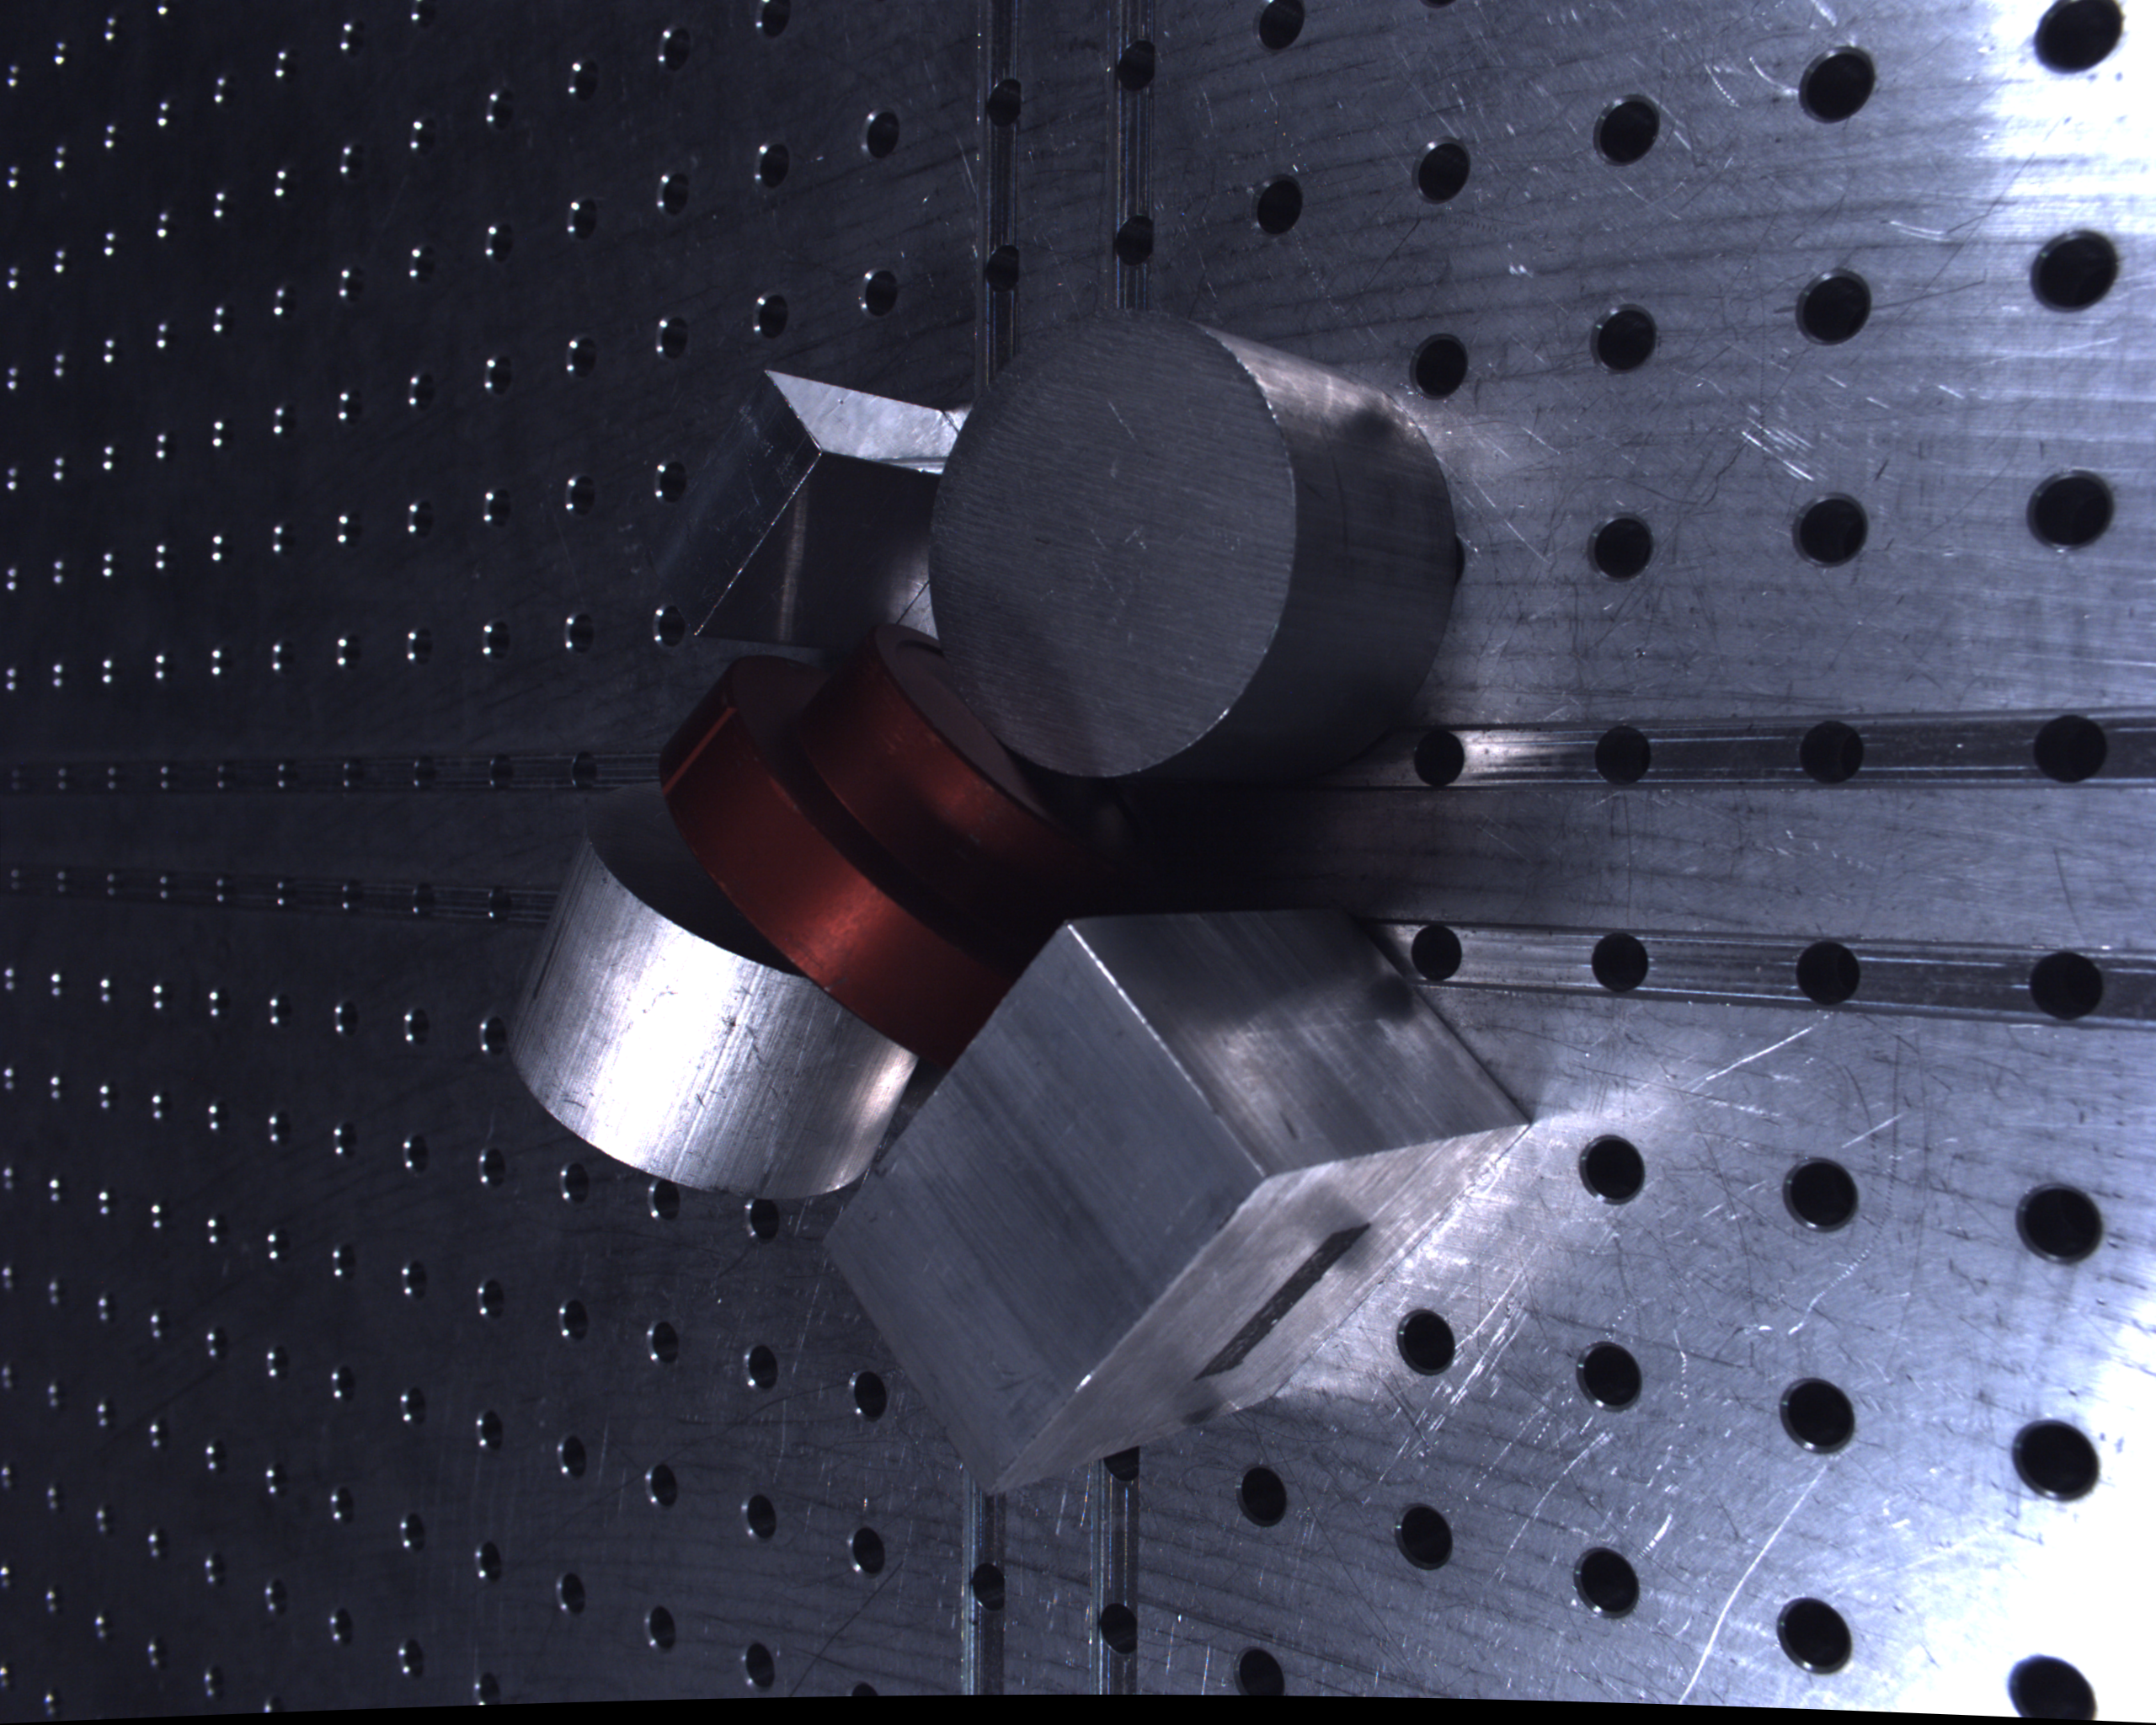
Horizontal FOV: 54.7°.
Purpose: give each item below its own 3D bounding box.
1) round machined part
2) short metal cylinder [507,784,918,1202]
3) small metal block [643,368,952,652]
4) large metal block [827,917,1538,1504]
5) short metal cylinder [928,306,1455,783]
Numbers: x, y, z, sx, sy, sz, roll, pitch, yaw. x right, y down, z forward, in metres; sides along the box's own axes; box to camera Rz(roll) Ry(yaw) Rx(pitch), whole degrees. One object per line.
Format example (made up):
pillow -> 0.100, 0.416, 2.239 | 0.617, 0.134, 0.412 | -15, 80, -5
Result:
round machined part -> -0.024, -0.006, 0.380 | 0.042, 0.098, 0.098 | -49, 61, 14
short metal cylinder -> -0.070, 0.025, 0.428 | 0.080, 0.081, 0.050 | 38, 113, 33
small metal block -> -0.053, -0.071, 0.434 | 0.050, 0.050, 0.025 | -49, 61, 28
large metal block -> 0.018, 0.056, 0.357 | 0.050, 0.081, 0.080 | 51, 120, 27
short metal cylinder -> 0.020, -0.055, 0.375 | 0.080, 0.050, 0.079 | 0, 90, 39
